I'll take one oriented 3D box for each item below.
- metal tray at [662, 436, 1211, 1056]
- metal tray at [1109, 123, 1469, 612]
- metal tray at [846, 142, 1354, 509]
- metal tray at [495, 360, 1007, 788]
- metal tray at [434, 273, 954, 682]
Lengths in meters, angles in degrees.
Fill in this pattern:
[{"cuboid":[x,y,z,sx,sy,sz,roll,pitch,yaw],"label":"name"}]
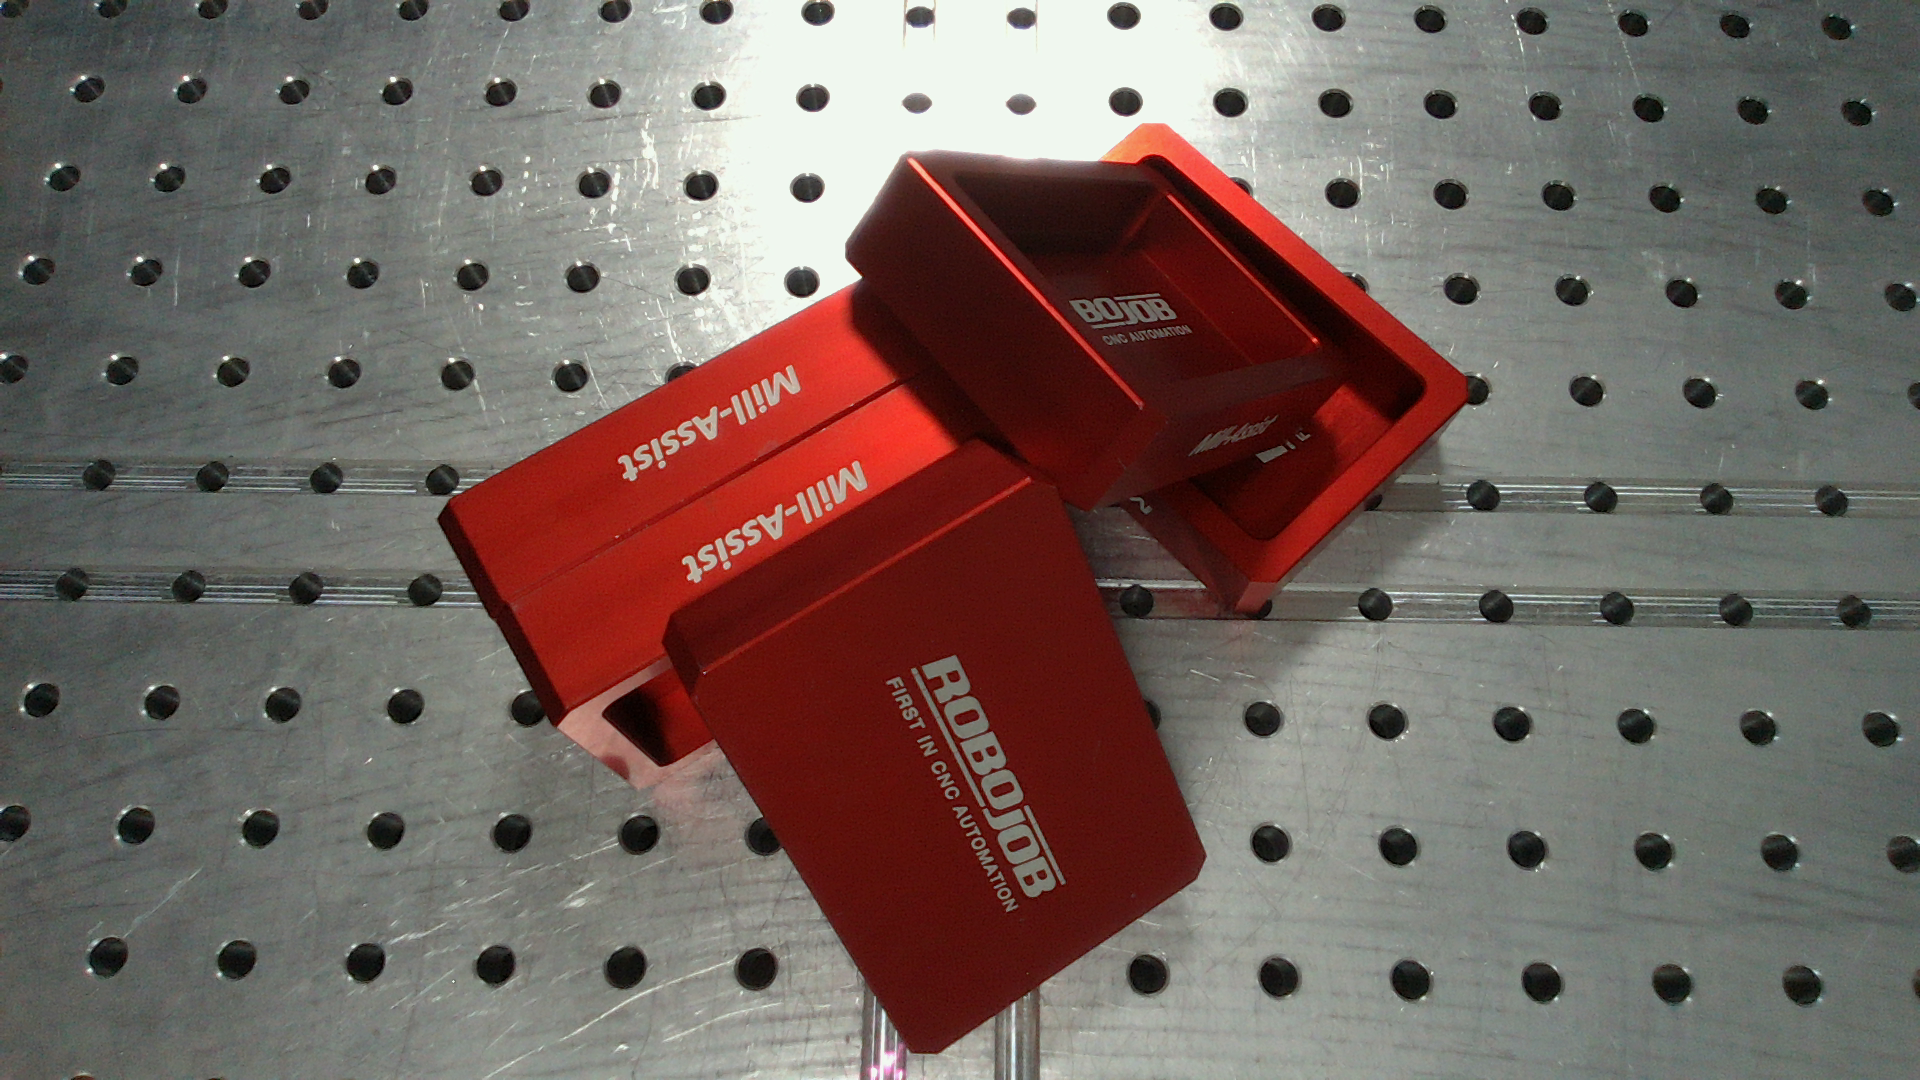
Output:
[{"cuboid":[0.000,0.052,0.329,0.090,0.130,0.030,-31,31,-10],"label":"metal tray"},{"cuboid":[0.072,-0.054,0.413,0.090,0.030,0.130,-42,75,-14],"label":"metal tray"},{"cuboid":[0.042,-0.060,0.359,0.090,0.030,0.131,49,32,15],"label":"metal tray"},{"cuboid":[-0.043,0.010,0.357,0.130,0.090,0.030,-31,73,-11],"label":"metal tray"},{"cuboid":[-0.060,-0.013,0.367,0.130,0.090,0.030,-31,73,-11],"label":"metal tray"}]
